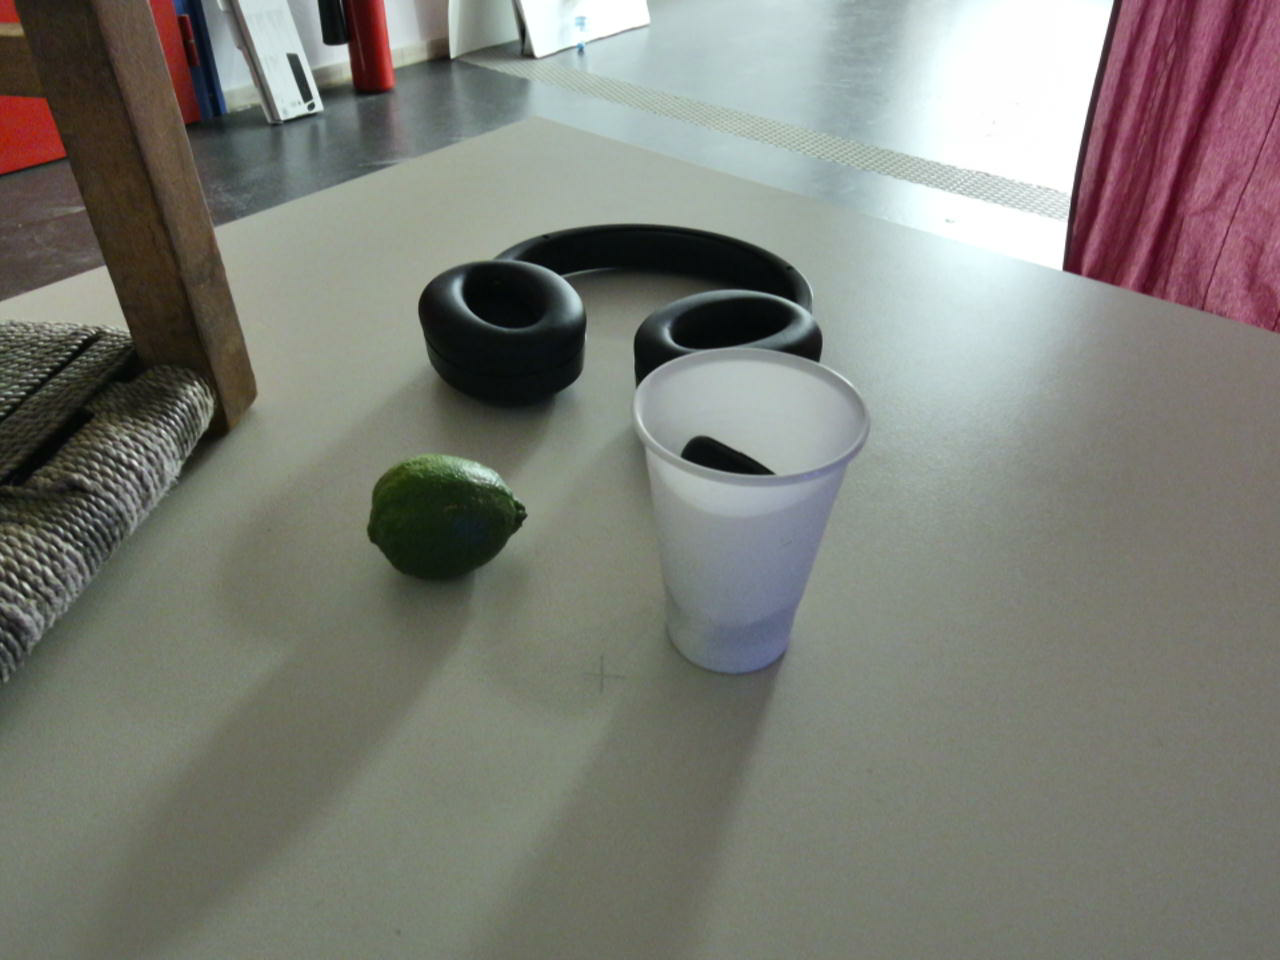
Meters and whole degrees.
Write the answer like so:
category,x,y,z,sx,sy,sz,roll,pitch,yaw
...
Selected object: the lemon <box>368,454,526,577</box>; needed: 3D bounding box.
category,x,y,z,sx,sy,sz,roll,pitch,yaw
lemon,-0.081,0.013,0.406,0.054,0.051,0.057,22,40,27
